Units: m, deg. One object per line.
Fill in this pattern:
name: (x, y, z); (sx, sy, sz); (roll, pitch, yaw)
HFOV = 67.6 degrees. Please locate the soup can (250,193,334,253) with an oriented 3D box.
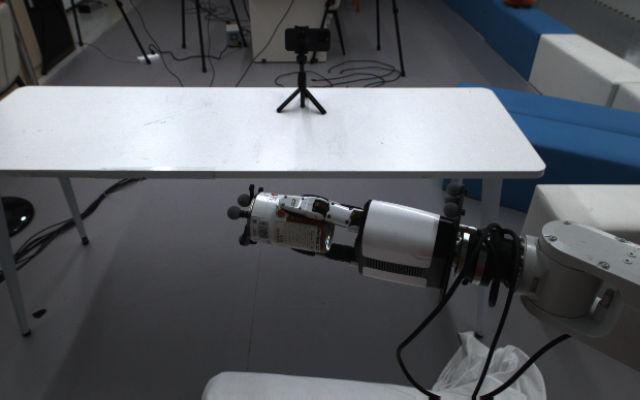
soup can: (-0.033, 0.028, 0.625); (0.101, 0.067, 0.067); (8, 35, 10)
